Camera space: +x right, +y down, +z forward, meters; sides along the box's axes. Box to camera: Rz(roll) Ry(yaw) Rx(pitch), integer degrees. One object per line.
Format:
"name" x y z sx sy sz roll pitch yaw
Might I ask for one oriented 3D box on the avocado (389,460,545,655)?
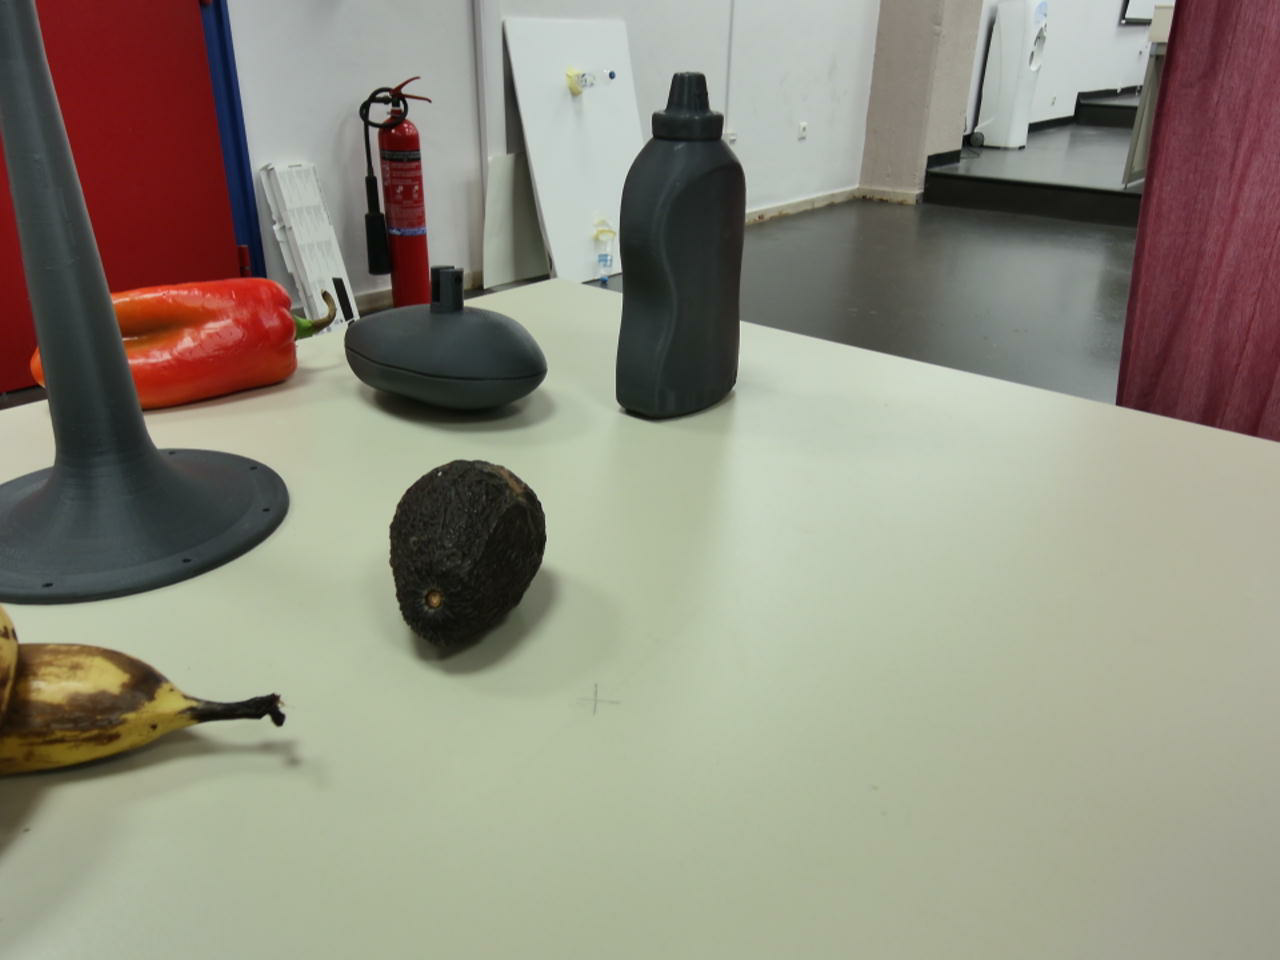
"avocado" -0.072 0.026 0.402 0.062 0.062 0.092 6 24 14
